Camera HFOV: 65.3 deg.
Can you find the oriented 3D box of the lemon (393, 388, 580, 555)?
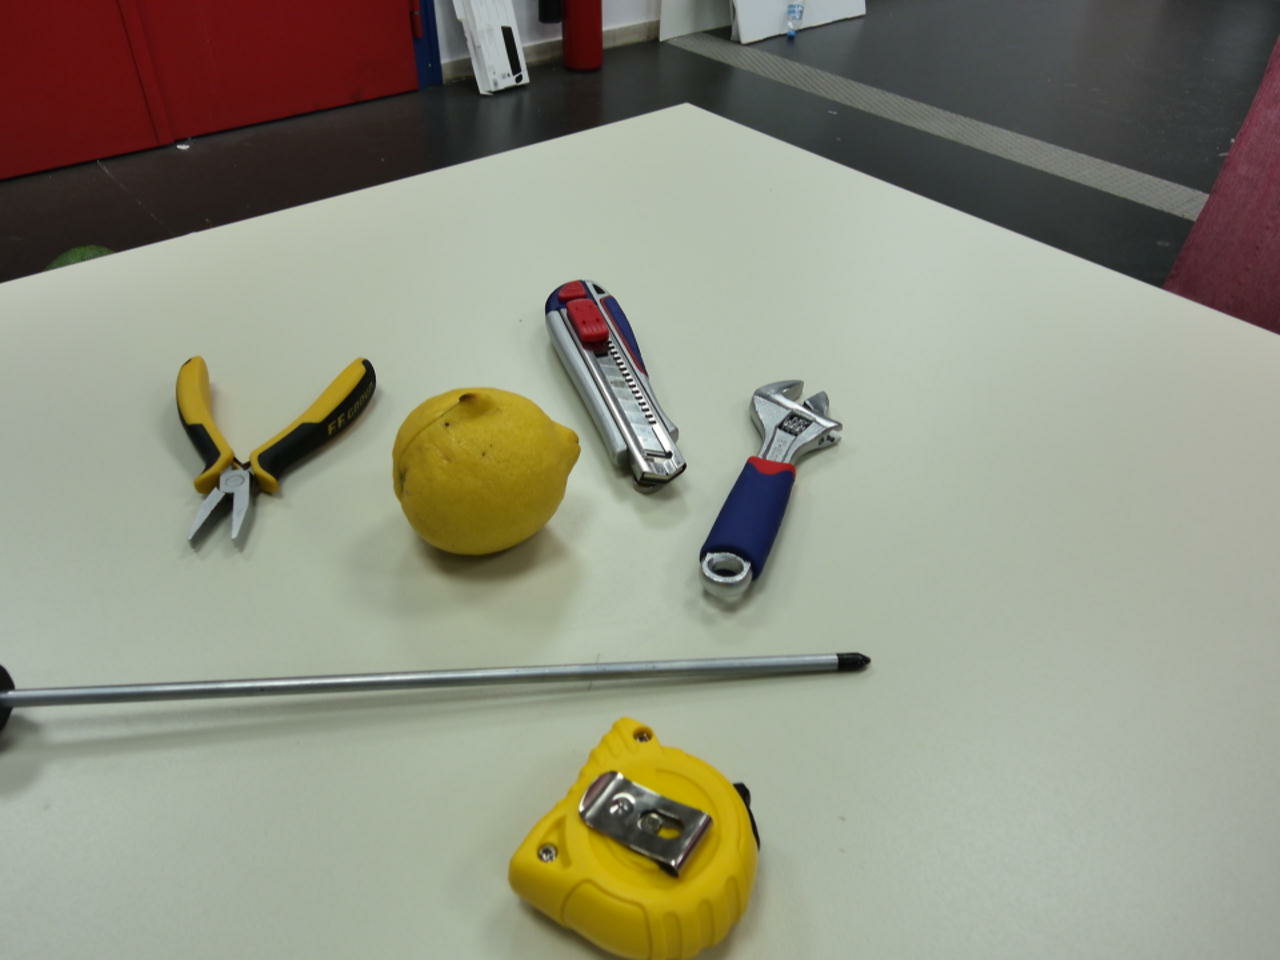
[{"bbox_3d":[-0.066,-0.007,0.405,0.071,0.071,0.070,11,38,13],"label":"lemon"}]
